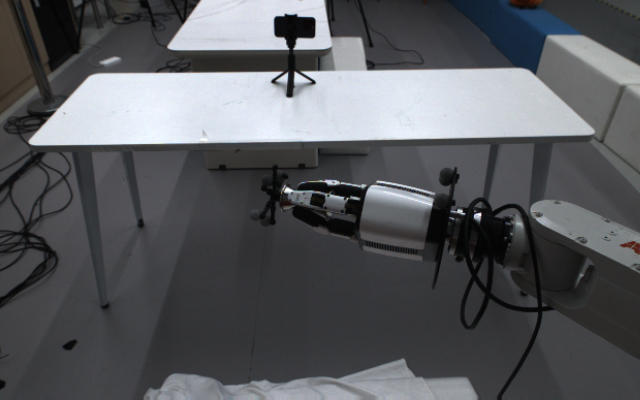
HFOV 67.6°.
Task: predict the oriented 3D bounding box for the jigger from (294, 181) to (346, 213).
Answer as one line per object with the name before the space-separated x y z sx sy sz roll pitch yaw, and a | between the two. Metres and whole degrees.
jigger | -0.011 -0.002 0.664 0.071 0.043 0.043 10 35 16
